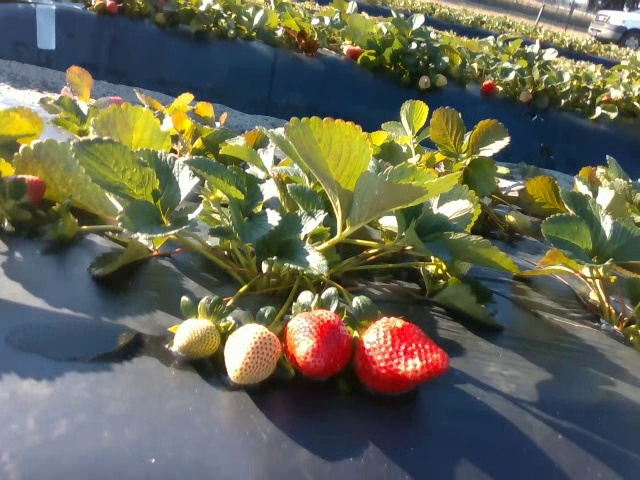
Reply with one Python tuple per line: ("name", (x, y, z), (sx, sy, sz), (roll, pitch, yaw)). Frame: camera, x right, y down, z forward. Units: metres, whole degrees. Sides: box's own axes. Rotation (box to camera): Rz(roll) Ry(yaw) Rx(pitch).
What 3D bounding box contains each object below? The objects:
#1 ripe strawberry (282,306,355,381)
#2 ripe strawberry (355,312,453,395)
("ripe strawberry", (-0.002, 0.060, 0.341), (0.050, 0.044, 0.061), (34, 12, 3))
("ripe strawberry", (0.051, 0.067, 0.345), (0.056, 0.052, 0.067), (-36, 21, -30))
